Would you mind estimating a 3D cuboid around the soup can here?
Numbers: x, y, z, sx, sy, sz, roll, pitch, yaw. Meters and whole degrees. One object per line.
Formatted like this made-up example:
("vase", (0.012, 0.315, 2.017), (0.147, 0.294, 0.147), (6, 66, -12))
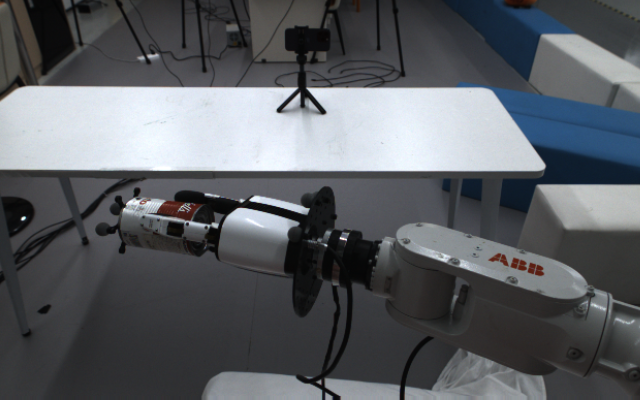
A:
("soup can", (-0.195, 0.035, 0.626), (0.101, 0.067, 0.067), (6, 35, 12))
